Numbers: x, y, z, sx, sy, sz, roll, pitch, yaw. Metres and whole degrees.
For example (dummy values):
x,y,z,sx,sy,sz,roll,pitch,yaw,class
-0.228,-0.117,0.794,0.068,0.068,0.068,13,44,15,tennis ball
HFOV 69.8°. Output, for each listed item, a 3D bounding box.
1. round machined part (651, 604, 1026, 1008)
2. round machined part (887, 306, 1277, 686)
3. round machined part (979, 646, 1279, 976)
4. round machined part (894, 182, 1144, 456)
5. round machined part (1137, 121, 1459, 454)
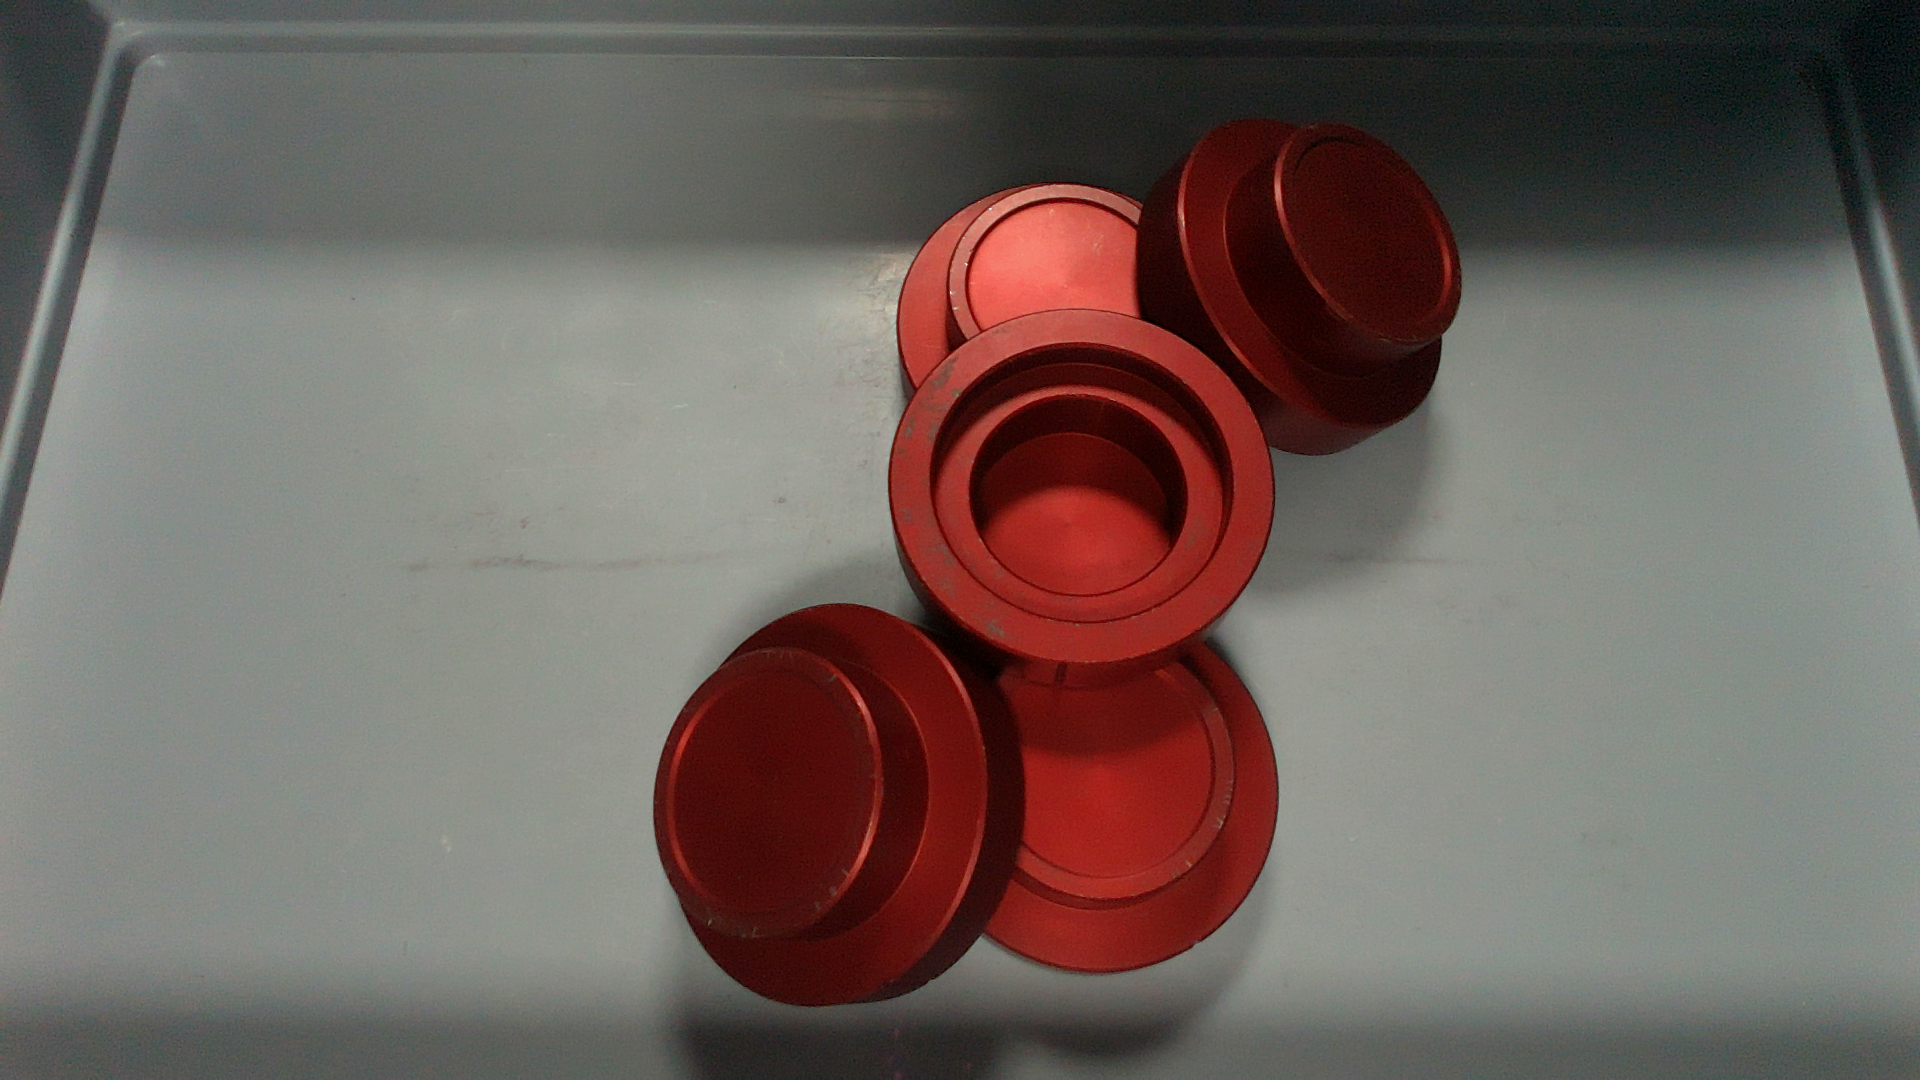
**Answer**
x,y,z,sx,sy,sz,roll,pitch,yaw,class
-0.036,0.064,0.339,0.098,0.042,0.098,-9,72,29,round machined part
0.031,-0.009,0.364,0.098,0.042,0.098,0,70,0,round machined part
0.035,0.062,0.361,0.098,0.042,0.098,0,70,0,round machined part
0.029,-0.066,0.408,0.098,0.042,0.098,0,70,0,round machined part
0.102,-0.077,0.390,0.098,0.042,0.098,13,64,-28,round machined part
